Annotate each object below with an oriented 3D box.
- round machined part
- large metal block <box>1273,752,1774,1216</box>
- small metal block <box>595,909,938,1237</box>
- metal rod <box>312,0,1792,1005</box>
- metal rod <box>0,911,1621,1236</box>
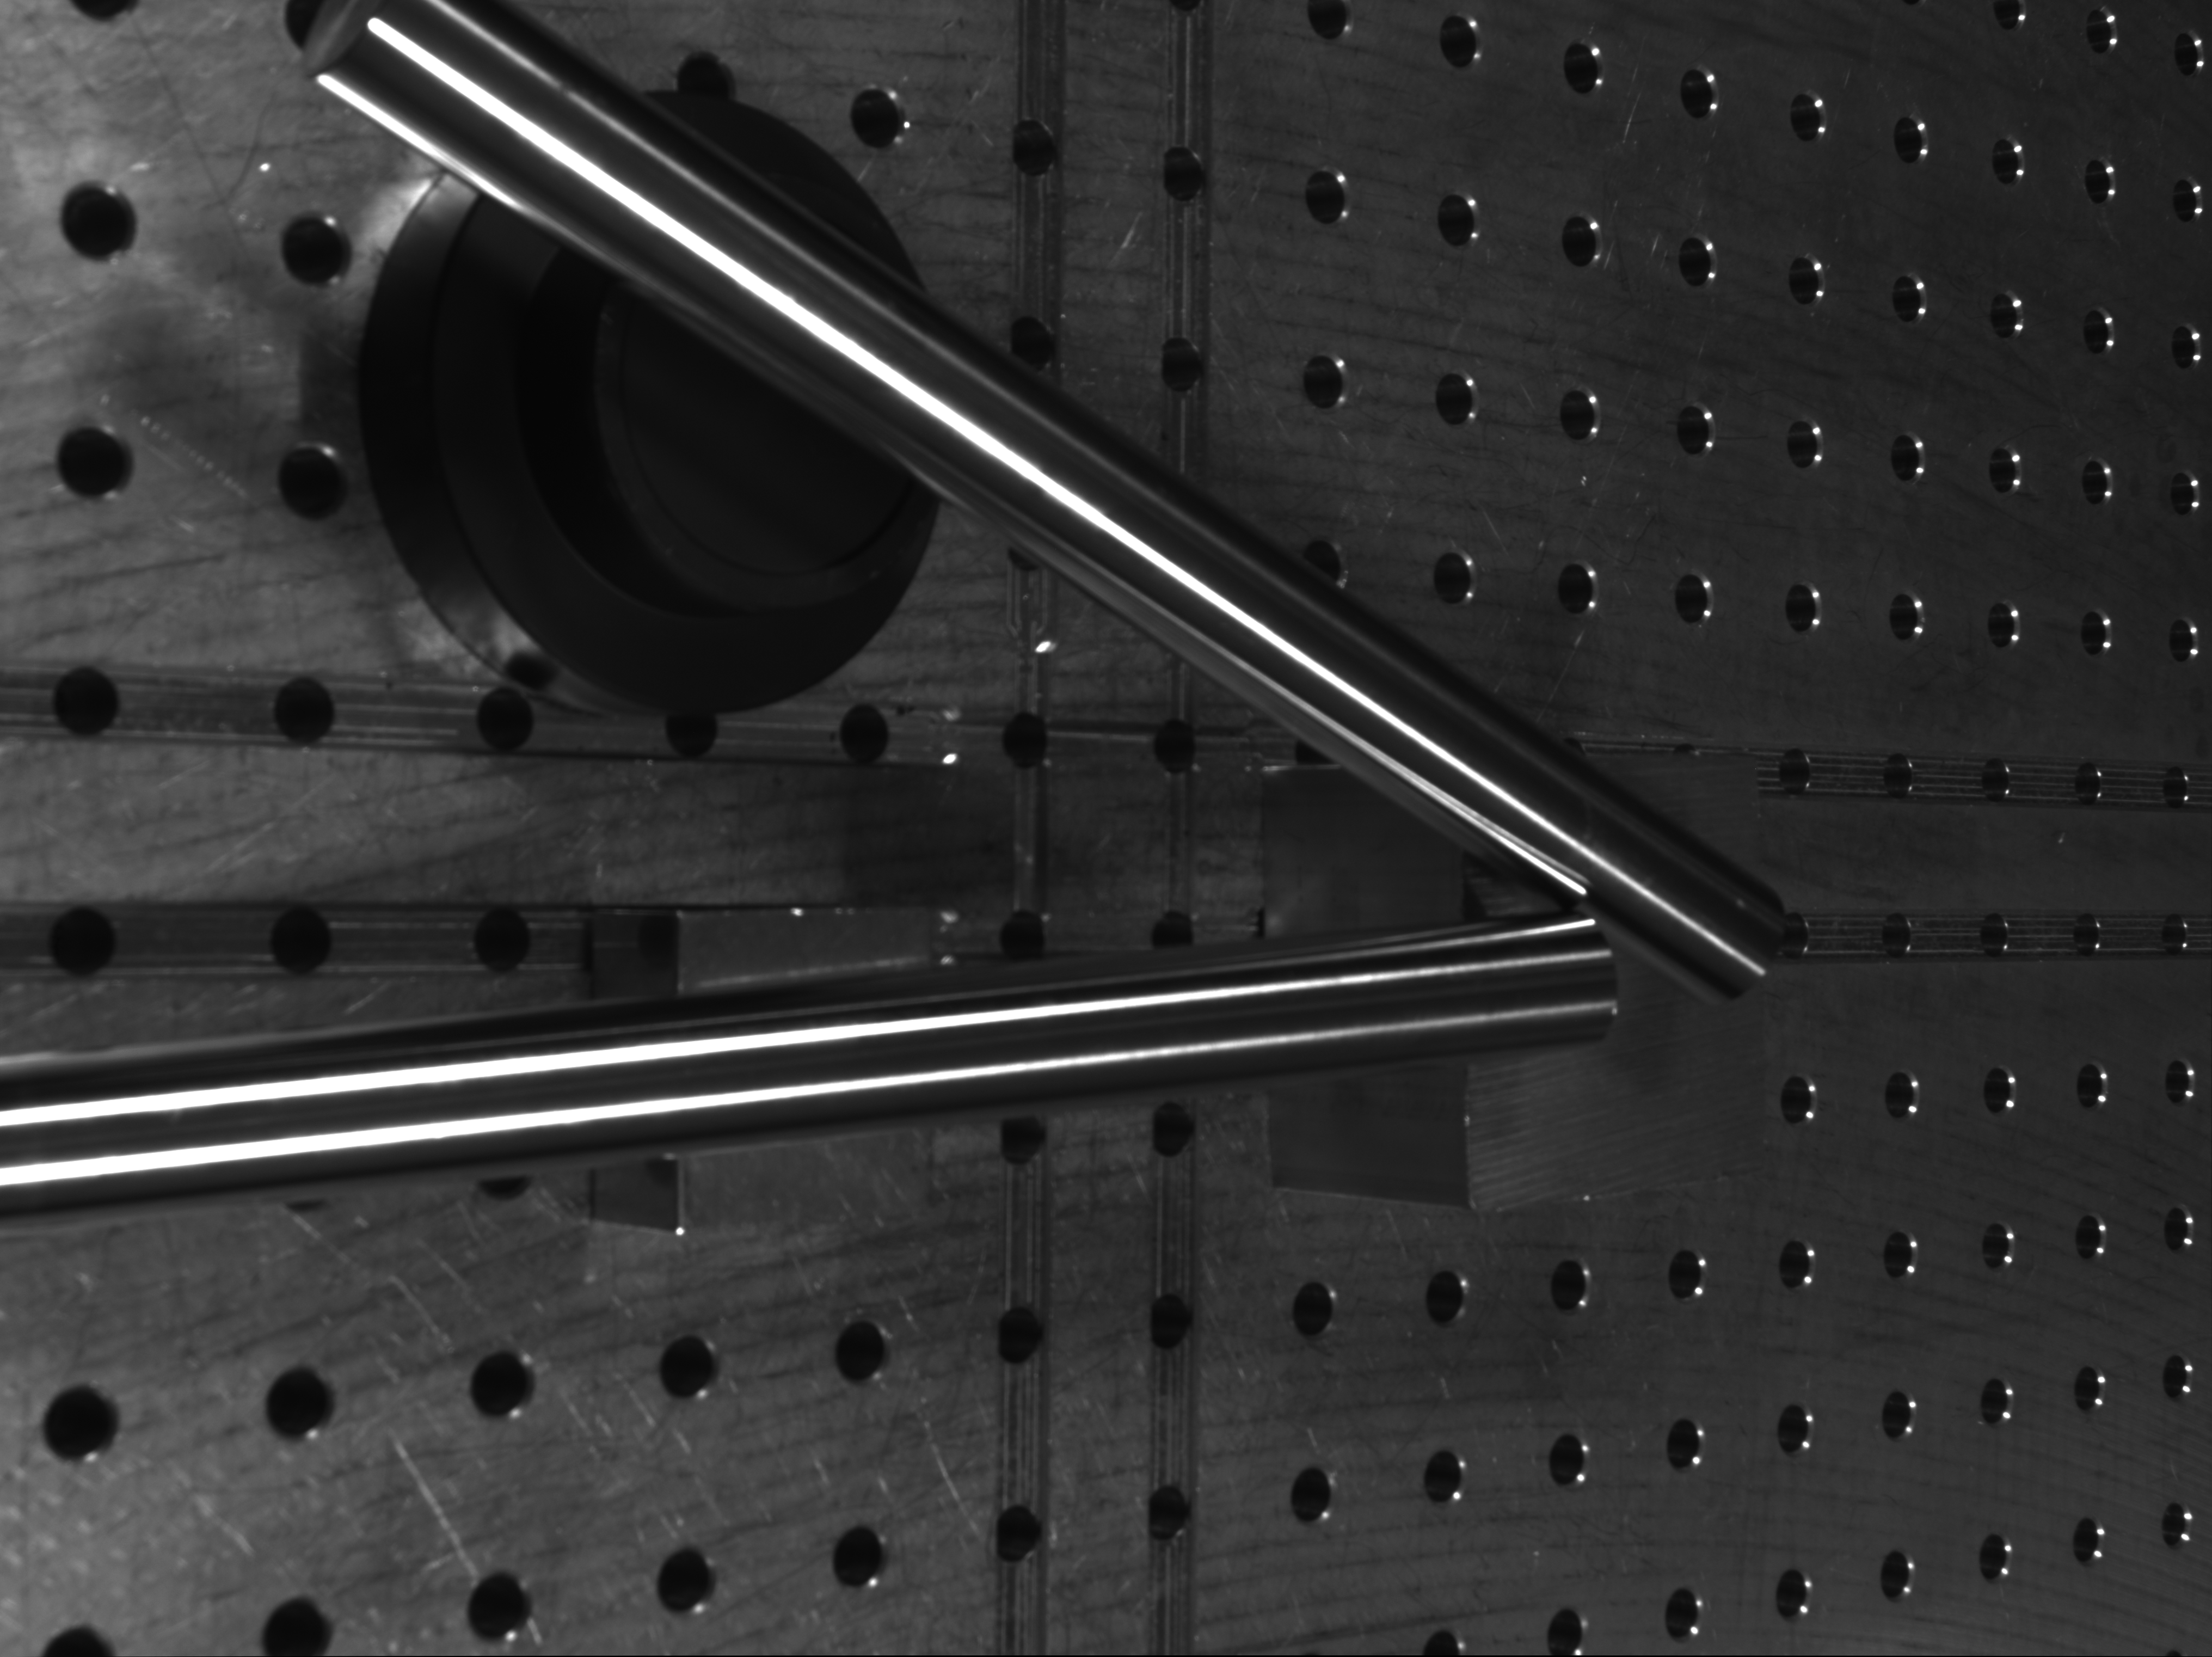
[{"bbox_3d":[-0.062,-0.067,0.577,0.098,0.042,0.098,0,90,-40],"label":"round machined part"},{"bbox_3d":[0.079,0.027,0.686,0.080,0.050,0.080,-2,91,-40],"label":"large metal block"},{"bbox_3d":[-0.055,0.038,0.595,0.050,0.025,0.050,0,90,-40],"label":"small metal block"},{"bbox_3d":[0.006,-0.046,0.583,0.301,0.025,0.025,32,70,-32],"label":"metal rod"},{"bbox_3d":[-0.049,0.036,0.564,0.301,0.025,0.025,-4,93,-29],"label":"metal rod"}]
